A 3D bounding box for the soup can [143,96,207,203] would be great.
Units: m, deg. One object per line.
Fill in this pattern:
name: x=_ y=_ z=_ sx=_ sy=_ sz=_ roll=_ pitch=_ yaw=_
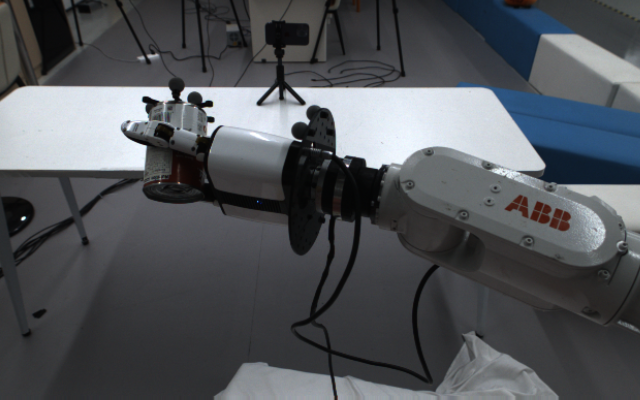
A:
soup can: x=-0.163 y=-0.054 z=0.556 sx=0.067 sy=0.067 sz=0.101 roll=-1 pitch=71 yaw=-5
